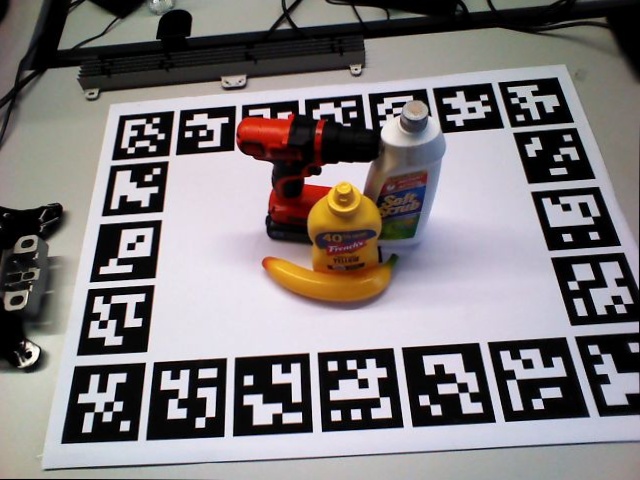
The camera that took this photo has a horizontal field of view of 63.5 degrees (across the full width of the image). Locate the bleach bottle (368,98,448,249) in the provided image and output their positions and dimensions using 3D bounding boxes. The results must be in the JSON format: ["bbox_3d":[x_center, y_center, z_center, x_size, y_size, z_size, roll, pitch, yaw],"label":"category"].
[{"bbox_3d":[0.105,-0.081,0.660,0.103,0.251,0.067,-2,57,4],"label":"bleach bottle"}]

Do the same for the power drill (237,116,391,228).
[{"bbox_3d":[-0.006,-0.084,0.674,0.185,0.187,0.057,8,62,7],"label":"power drill"}]

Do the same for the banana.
[{"bbox_3d":[0.025,0.053,0.720,0.198,0.039,0.074,-1,63,7],"label":"banana"}]

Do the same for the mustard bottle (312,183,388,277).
[{"bbox_3d":[0.039,-0.014,0.657,0.096,0.192,0.058,-3,62,2],"label":"mustard bottle"}]
